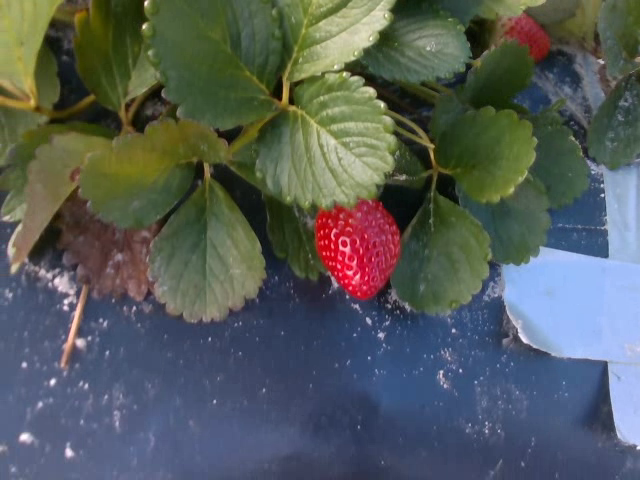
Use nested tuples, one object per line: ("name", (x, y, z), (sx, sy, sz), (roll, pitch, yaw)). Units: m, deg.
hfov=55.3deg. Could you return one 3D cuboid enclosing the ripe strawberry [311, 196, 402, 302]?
("ripe strawberry", (0.007, 0.002, 0.112), (0.018, 0.023, 0.021), (-1, -33, 1))
